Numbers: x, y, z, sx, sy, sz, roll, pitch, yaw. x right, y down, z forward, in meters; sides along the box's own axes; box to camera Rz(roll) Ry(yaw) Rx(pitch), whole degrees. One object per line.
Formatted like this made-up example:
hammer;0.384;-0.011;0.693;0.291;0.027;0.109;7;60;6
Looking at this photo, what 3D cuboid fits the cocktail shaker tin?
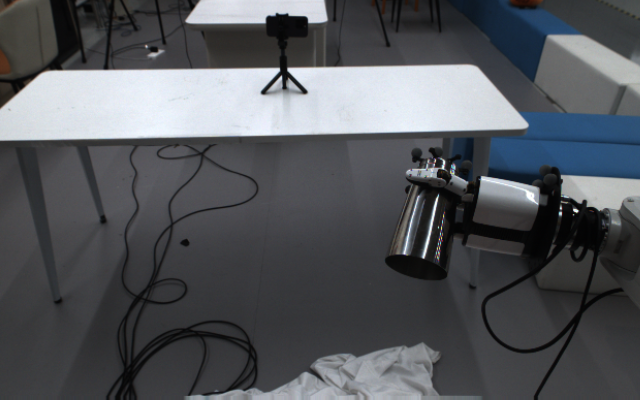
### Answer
cocktail shaker tin;0.165;0.020;0.727;0.093;0.093;0.170;12;65;15
